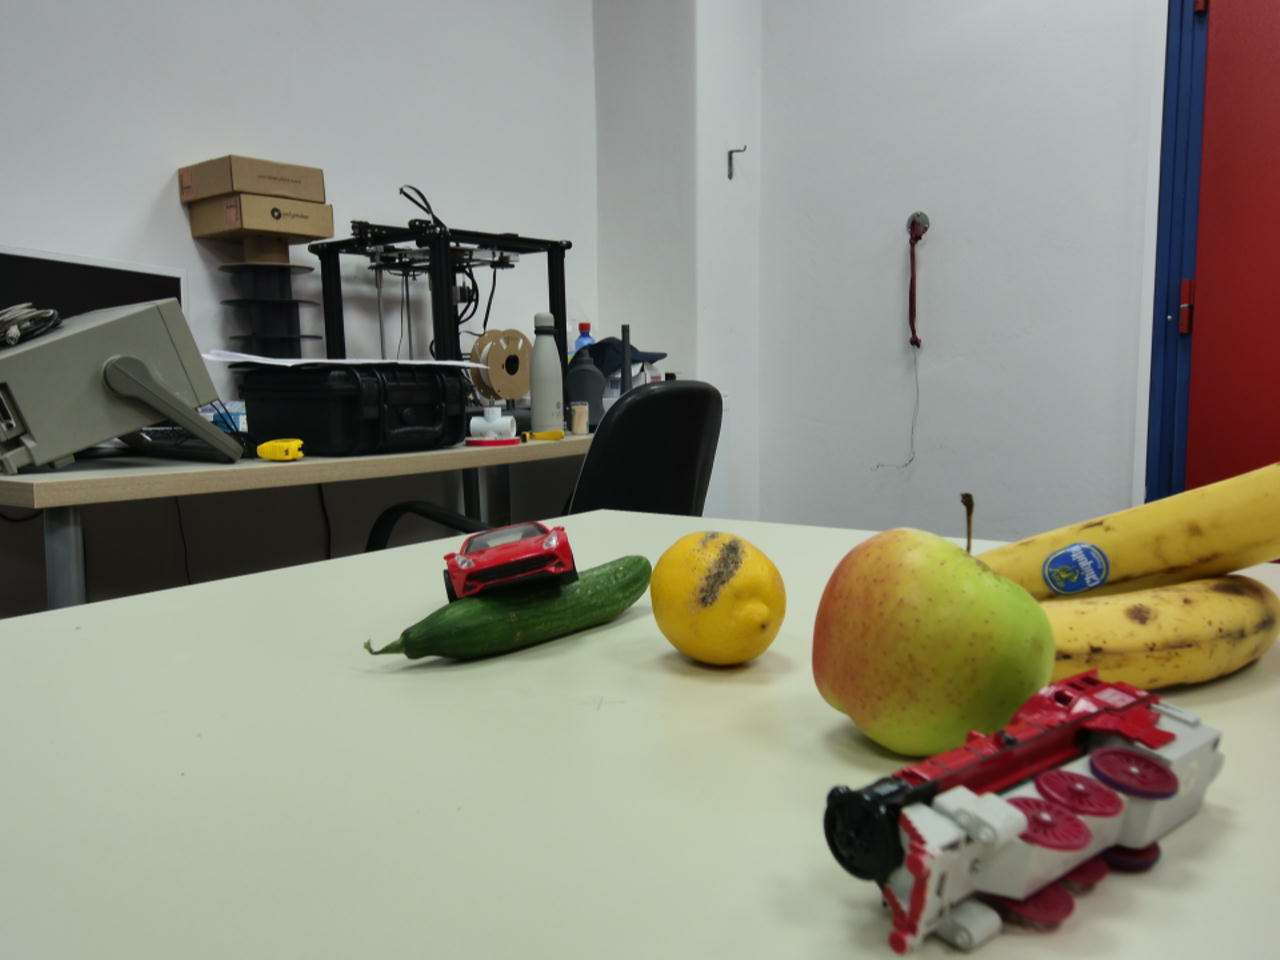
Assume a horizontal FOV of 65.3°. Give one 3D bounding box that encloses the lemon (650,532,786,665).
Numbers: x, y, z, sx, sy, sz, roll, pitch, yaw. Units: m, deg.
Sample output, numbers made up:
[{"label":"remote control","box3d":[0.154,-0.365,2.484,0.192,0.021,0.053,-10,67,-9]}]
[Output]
[{"label":"lemon","box3d":[0.035,0.052,0.437,0.061,0.056,0.058,2,4,29]}]
